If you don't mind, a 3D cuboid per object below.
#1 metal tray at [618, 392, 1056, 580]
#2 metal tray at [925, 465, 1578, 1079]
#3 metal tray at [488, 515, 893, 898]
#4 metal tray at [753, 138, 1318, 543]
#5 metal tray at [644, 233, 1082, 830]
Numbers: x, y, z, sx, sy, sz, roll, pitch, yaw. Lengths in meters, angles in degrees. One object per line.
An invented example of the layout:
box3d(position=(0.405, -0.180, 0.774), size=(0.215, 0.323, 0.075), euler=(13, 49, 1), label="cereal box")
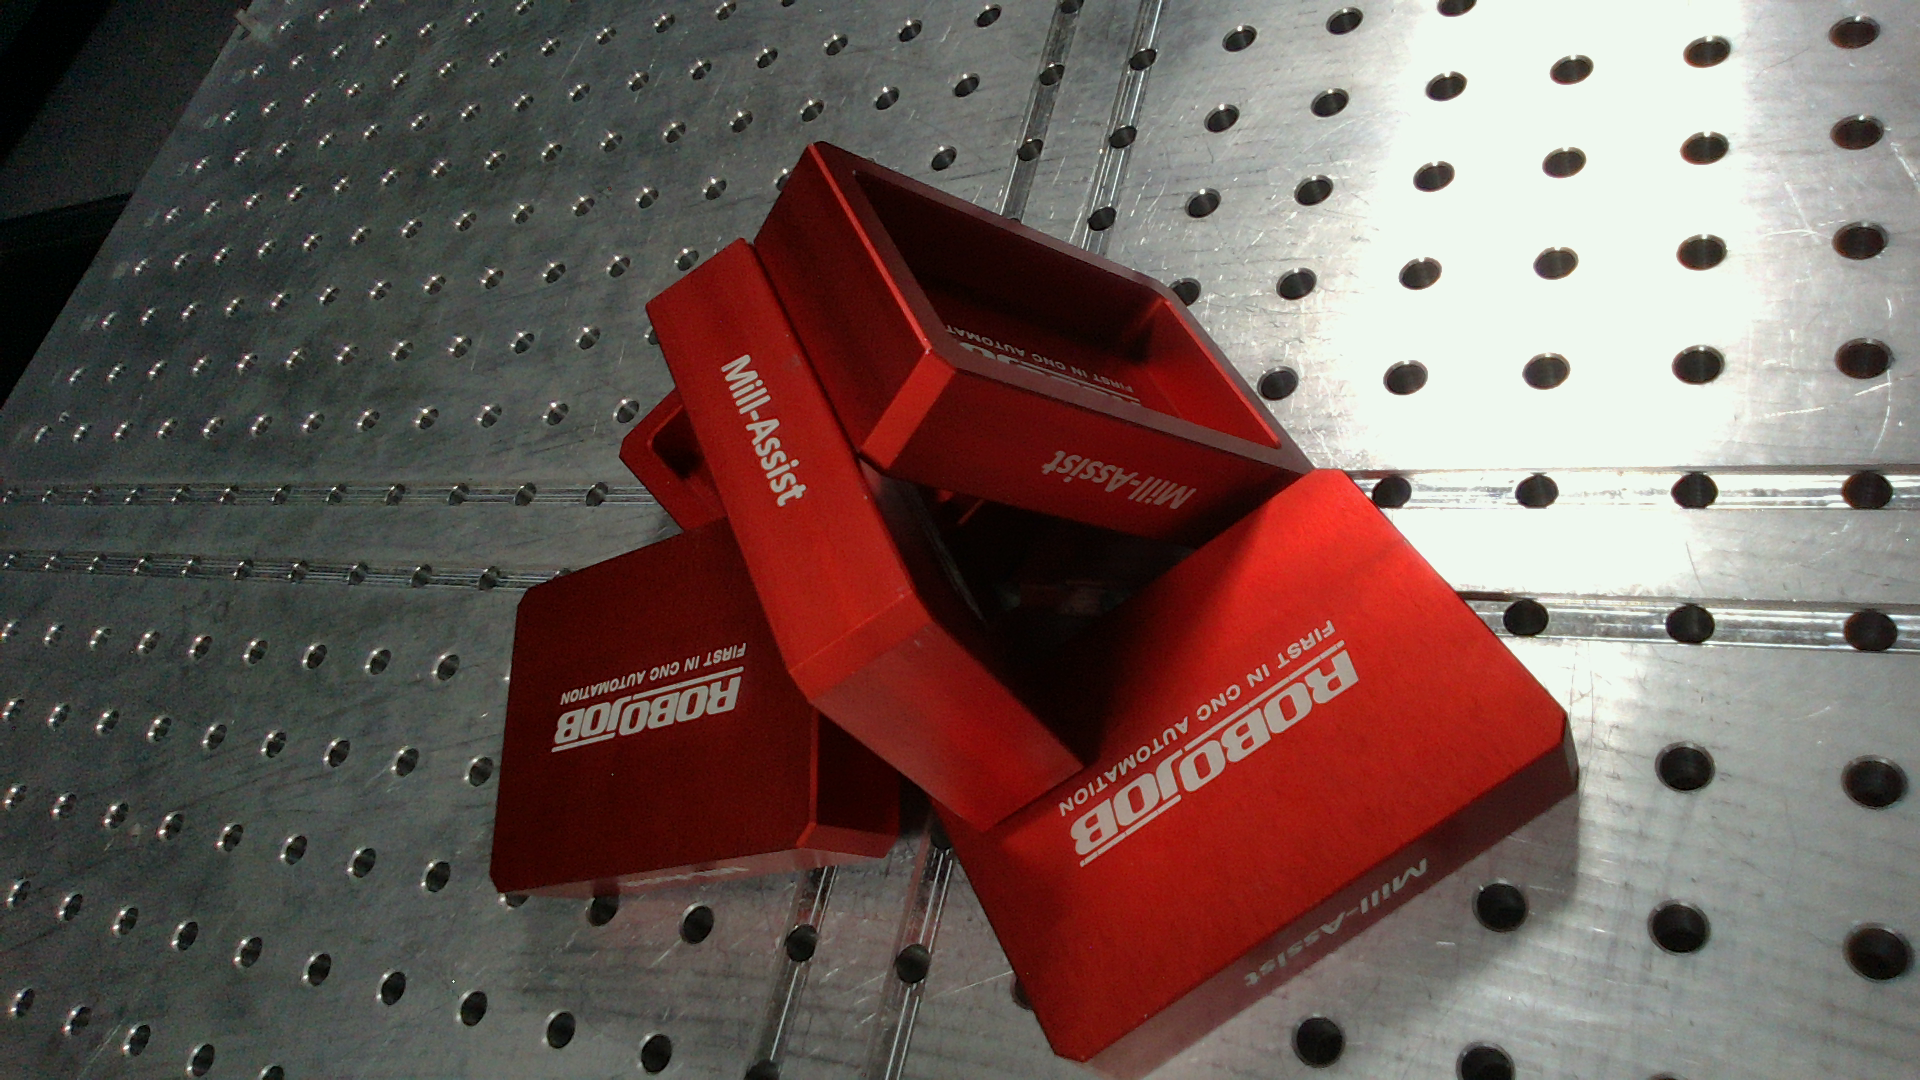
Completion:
box3d(position=(-0.041, -0.022, 0.429), size=(0.090, 0.030, 0.130), euler=(-45, 51, -3), label="metal tray")
box3d(position=(0.063, 0.053, 0.326), size=(0.130, 0.030, 0.090), euler=(-36, 51, 5), label="metal tray")
box3d(position=(-0.075, 0.046, 0.375), size=(0.129, 0.030, 0.090), euler=(-17, 64, 37), label="metal tray")
box3d(position=(0.021, -0.046, 0.347), size=(0.030, 0.131, 0.090), euler=(-53, 45, 28), label="metal tray")
box3d(position=(-0.024, -0.003, 0.330), size=(0.030, 0.090, 0.130), euler=(-33, 51, 7), label="metal tray")
